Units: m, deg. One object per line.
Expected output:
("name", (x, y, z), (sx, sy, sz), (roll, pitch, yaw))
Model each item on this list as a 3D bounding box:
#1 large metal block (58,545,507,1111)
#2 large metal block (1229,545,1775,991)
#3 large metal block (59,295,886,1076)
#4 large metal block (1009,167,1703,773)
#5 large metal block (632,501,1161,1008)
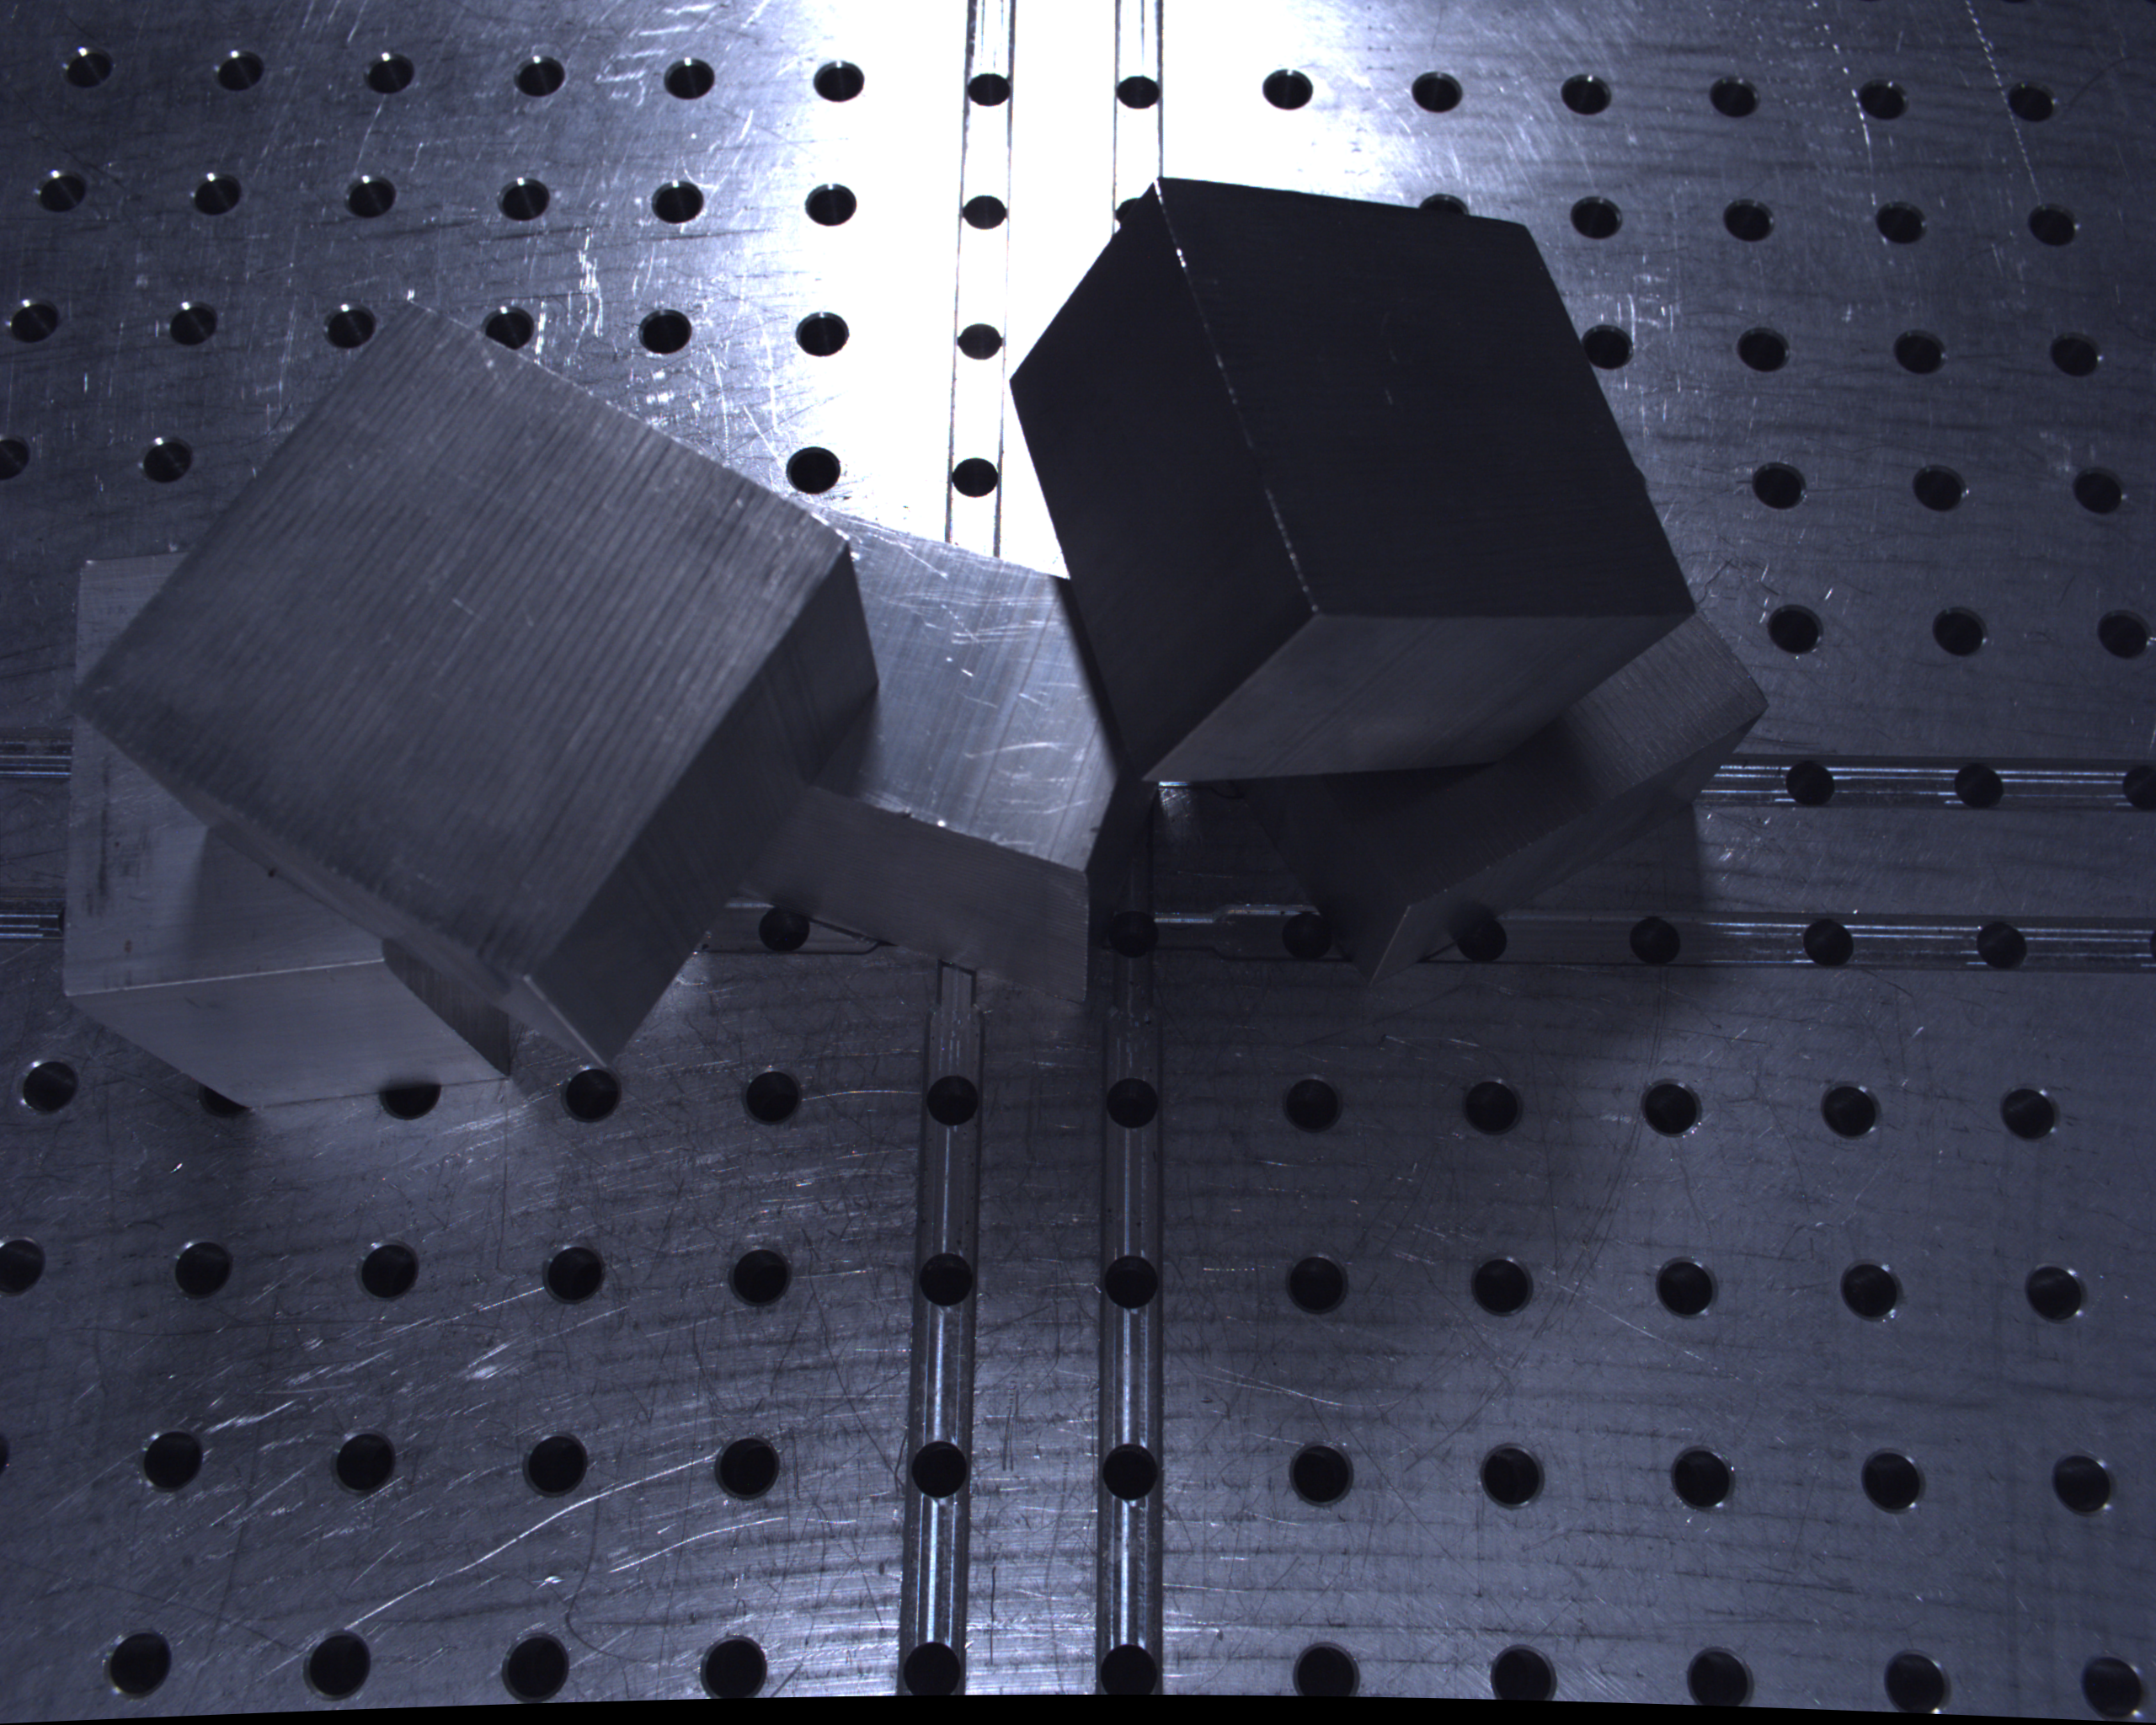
("large metal block", (-0.141, -0.005, 0.382), (0.050, 0.080, 0.080), (-6, 70, -2))
("large metal block", (0.073, -0.034, 0.412), (0.080, 0.050, 0.080), (-29, 73, -10))
("large metal block", (-0.088, -0.026, 0.321), (0.080, 0.050, 0.080), (29, 72, 10))
("large metal block", (0.045, -0.063, 0.349), (0.081, 0.050, 0.080), (-4, 67, -33))
("large metal block", (-0.028, -0.019, 0.388), (0.080, 0.080, 0.050), (18, 71, 6))
